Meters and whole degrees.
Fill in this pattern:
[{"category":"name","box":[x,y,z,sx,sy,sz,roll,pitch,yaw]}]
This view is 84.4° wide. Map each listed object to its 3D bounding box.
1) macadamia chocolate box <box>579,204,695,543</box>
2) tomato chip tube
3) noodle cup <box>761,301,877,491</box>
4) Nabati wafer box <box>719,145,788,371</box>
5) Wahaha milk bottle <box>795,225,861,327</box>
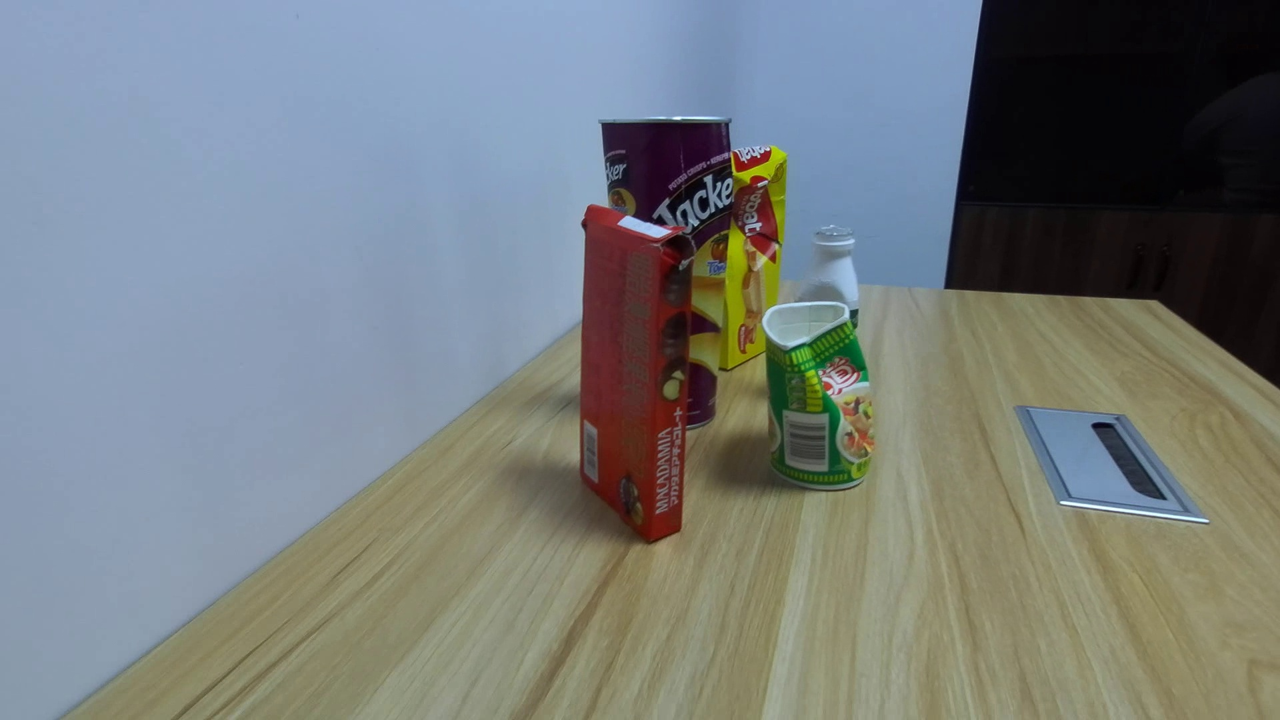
[{"category":"macadamia chocolate box","box":[-0.007,0.006,0.431,0.027,0.187,0.102,-9,22,-31]},{"category":"tomato chip tube","box":[0.024,-0.067,0.555,0.076,0.235,0.077,-16,24,-36]},{"category":"noodle cup","box":[0.123,0.023,0.482,0.083,0.122,0.075,-18,18,-16]},{"category":"Nabati wafer box","box":[0.095,-0.098,0.679,0.042,0.204,0.107,16,25,37]},{"category":"Wahaha milk bottle","box":[0.152,-0.034,0.583,0.055,0.149,0.055,1,21,0]}]
